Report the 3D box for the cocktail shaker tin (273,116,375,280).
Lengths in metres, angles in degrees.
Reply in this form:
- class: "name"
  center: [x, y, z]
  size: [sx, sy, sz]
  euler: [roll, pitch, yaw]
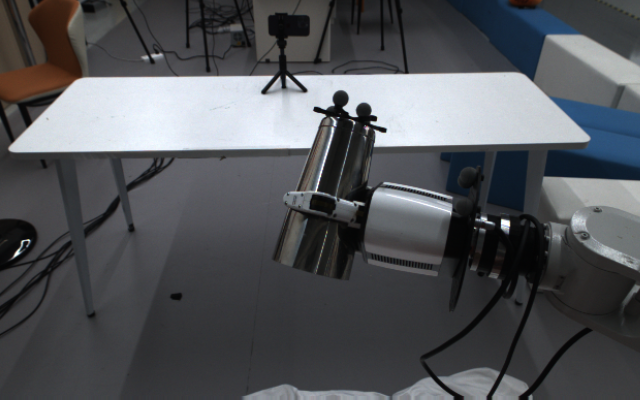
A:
- class: "cocktail shaker tin"
  center: [0.012, -0.003, 0.555]
  size: [0.093, 0.170, 0.093]
  euler: [15, -4, 1]
